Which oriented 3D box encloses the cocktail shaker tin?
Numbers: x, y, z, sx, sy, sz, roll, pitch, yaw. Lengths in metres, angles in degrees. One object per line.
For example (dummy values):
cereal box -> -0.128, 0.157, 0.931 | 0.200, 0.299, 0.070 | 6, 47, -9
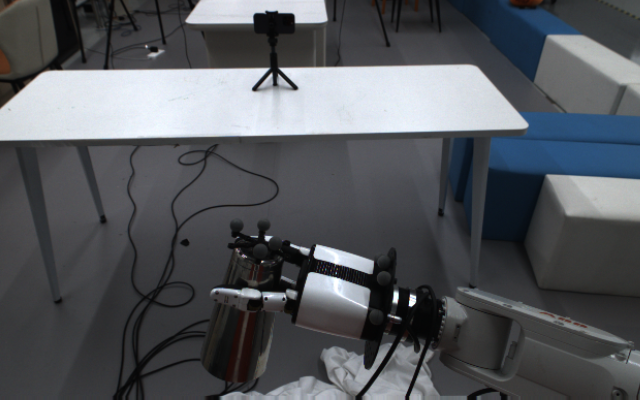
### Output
cocktail shaker tin -> -0.097, 0.139, 0.641 | 0.093, 0.170, 0.093 | 14, 18, -5
